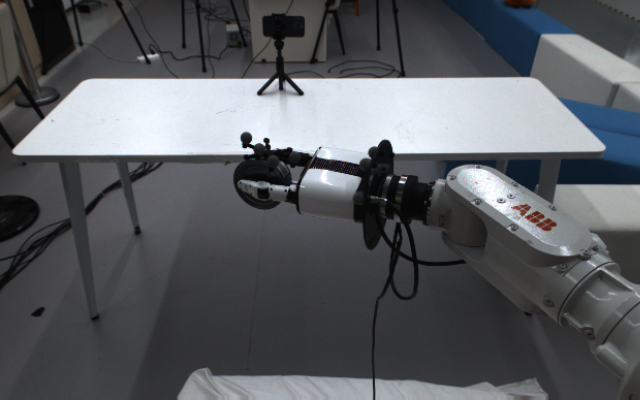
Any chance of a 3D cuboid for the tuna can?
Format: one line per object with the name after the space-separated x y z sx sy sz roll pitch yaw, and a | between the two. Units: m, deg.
-0.087 -0.029 0.746 0.085 0.085 0.034 13 30 15 | tuna can
